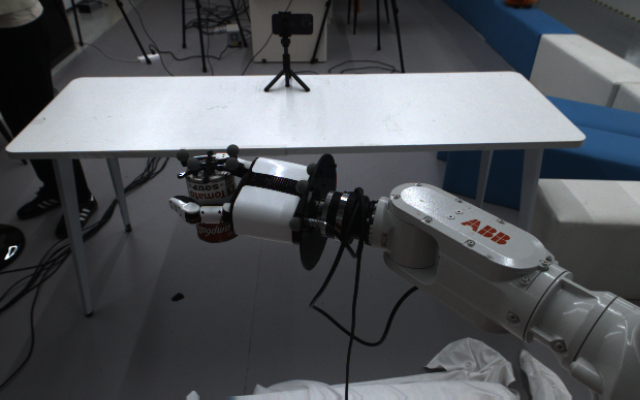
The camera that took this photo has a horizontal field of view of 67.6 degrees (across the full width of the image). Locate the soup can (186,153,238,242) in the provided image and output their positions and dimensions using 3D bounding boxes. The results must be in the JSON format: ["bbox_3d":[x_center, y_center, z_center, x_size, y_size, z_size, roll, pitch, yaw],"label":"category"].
[{"bbox_3d":[-0.148,0.001,0.686,0.067,0.101,0.067,-2,32,2],"label":"soup can"}]
